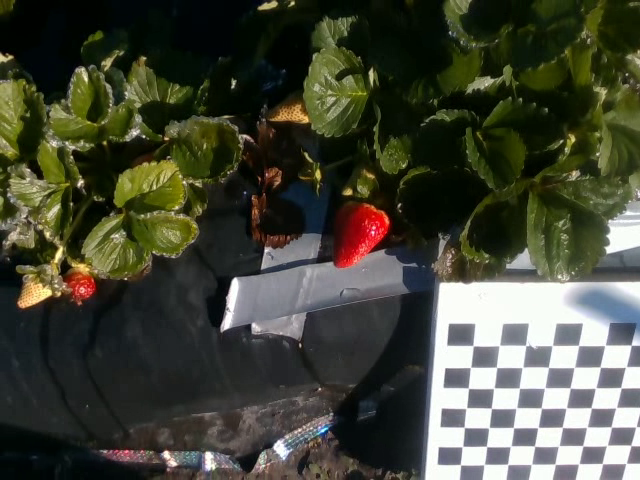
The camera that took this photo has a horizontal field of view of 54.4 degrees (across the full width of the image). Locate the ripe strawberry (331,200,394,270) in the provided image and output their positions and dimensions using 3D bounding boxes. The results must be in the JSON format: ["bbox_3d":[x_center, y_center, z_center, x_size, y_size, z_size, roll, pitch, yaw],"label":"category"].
[{"bbox_3d":[0.036,0.002,0.559,0.061,0.065,0.058,29,-23,-15],"label":"ripe strawberry"}]
